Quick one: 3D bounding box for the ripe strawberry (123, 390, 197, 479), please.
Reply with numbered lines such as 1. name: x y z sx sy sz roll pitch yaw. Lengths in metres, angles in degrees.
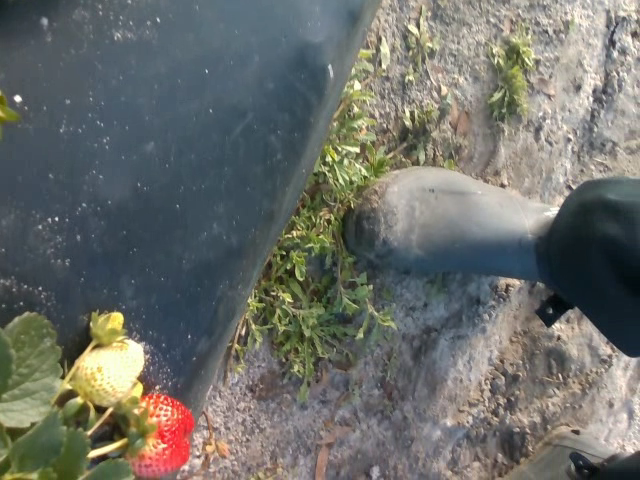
1. ripe strawberry: -0.091 0.123 0.372 0.034 0.048 0.050 20 -6 30
